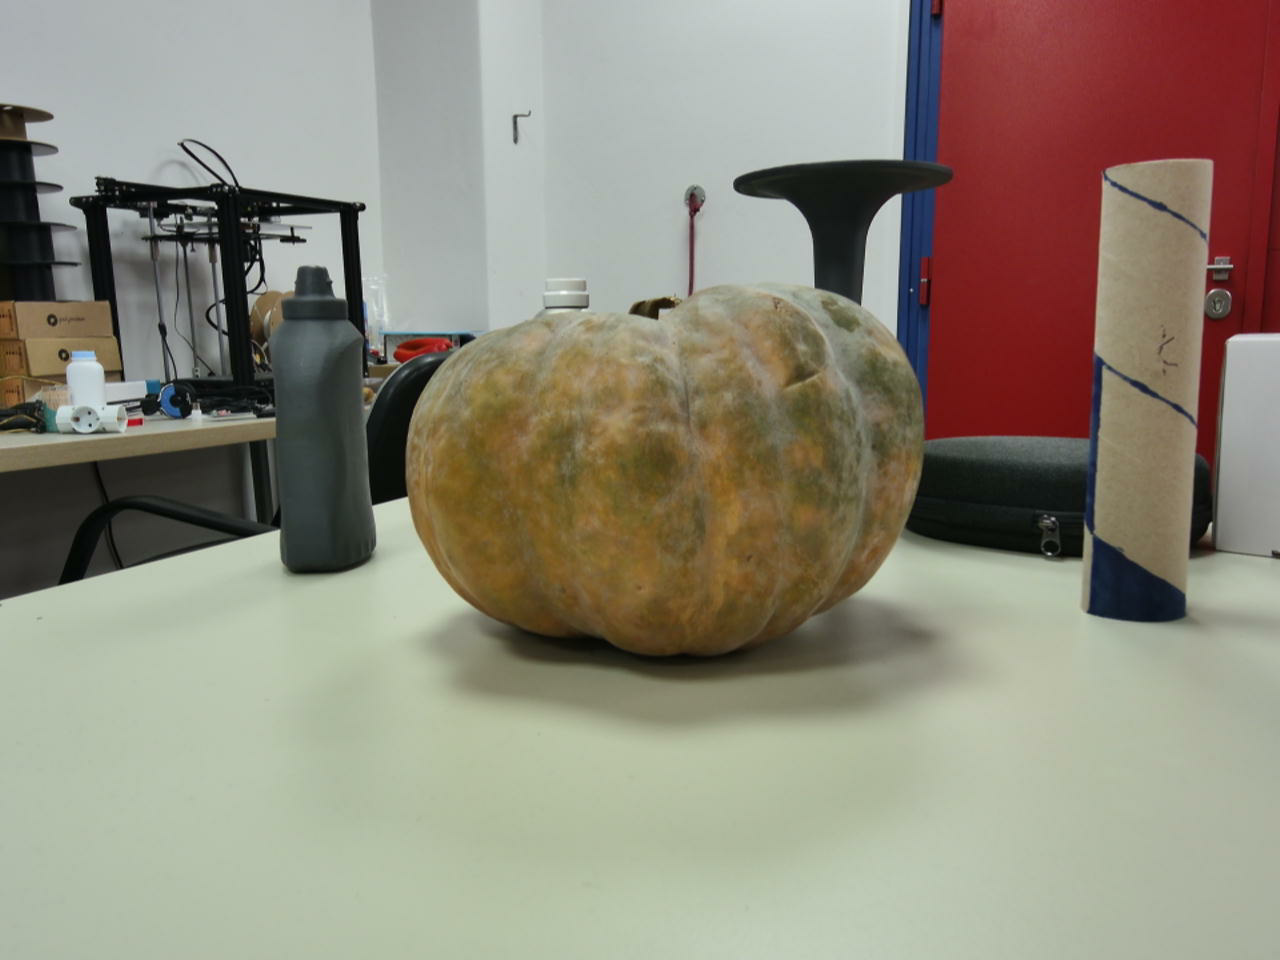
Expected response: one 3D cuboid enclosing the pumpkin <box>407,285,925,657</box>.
[{"bbox_3d":[0.007,-0.009,0.495,0.252,0.168,0.252,0,6,0],"label":"pumpkin"}]
